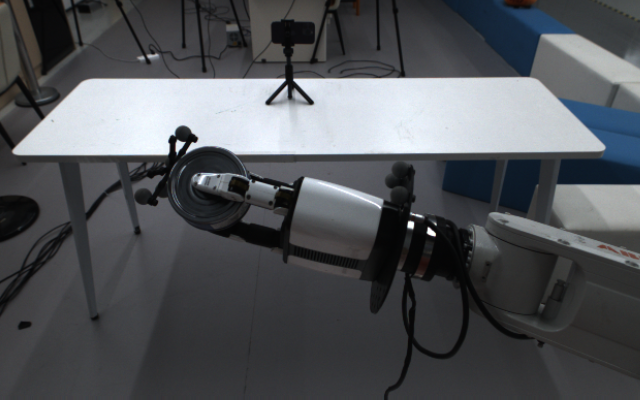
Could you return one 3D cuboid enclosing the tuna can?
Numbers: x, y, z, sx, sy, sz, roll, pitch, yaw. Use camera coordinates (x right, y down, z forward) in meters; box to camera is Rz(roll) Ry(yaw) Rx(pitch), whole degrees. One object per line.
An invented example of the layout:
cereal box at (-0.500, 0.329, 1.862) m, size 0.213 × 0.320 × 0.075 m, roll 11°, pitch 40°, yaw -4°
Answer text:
tuna can at (-0.110, -0.007, 0.508) m, size 0.085 × 0.034 × 0.085 m, roll 1°, pitch 75°, yaw -2°
